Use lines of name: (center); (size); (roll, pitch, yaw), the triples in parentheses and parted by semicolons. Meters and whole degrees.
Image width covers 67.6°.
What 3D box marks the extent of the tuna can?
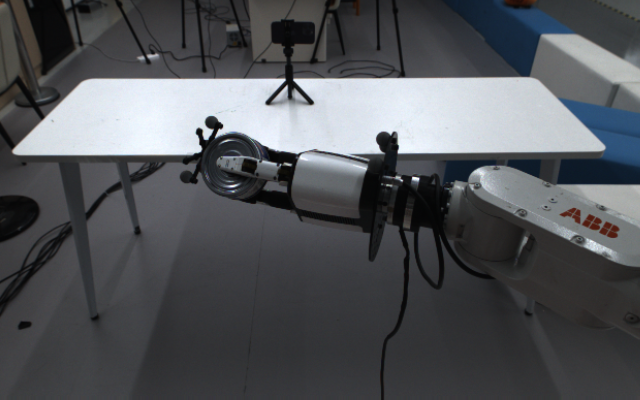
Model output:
tuna can: (-0.108, -0.045, 0.629); (0.085, 0.085, 0.034); (12, -4, 14)
